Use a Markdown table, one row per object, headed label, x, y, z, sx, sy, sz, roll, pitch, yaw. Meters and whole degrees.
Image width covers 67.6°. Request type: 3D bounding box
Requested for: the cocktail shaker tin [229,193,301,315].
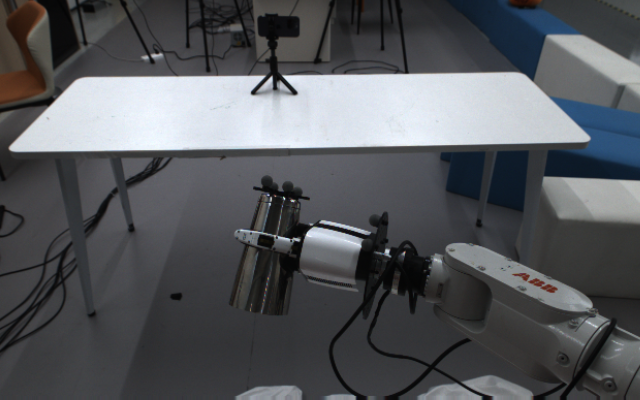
| label | x | y | z | sx | sy | sz | roll | pitch | yaw |
| --- | --- | --- | --- | --- | --- | --- | --- | --- | --- |
| cocktail shaker tin | -0.076 | 0.081 | 0.737 | 0.093 | 0.170 | 0.093 | 11 | -5 | 1 |
